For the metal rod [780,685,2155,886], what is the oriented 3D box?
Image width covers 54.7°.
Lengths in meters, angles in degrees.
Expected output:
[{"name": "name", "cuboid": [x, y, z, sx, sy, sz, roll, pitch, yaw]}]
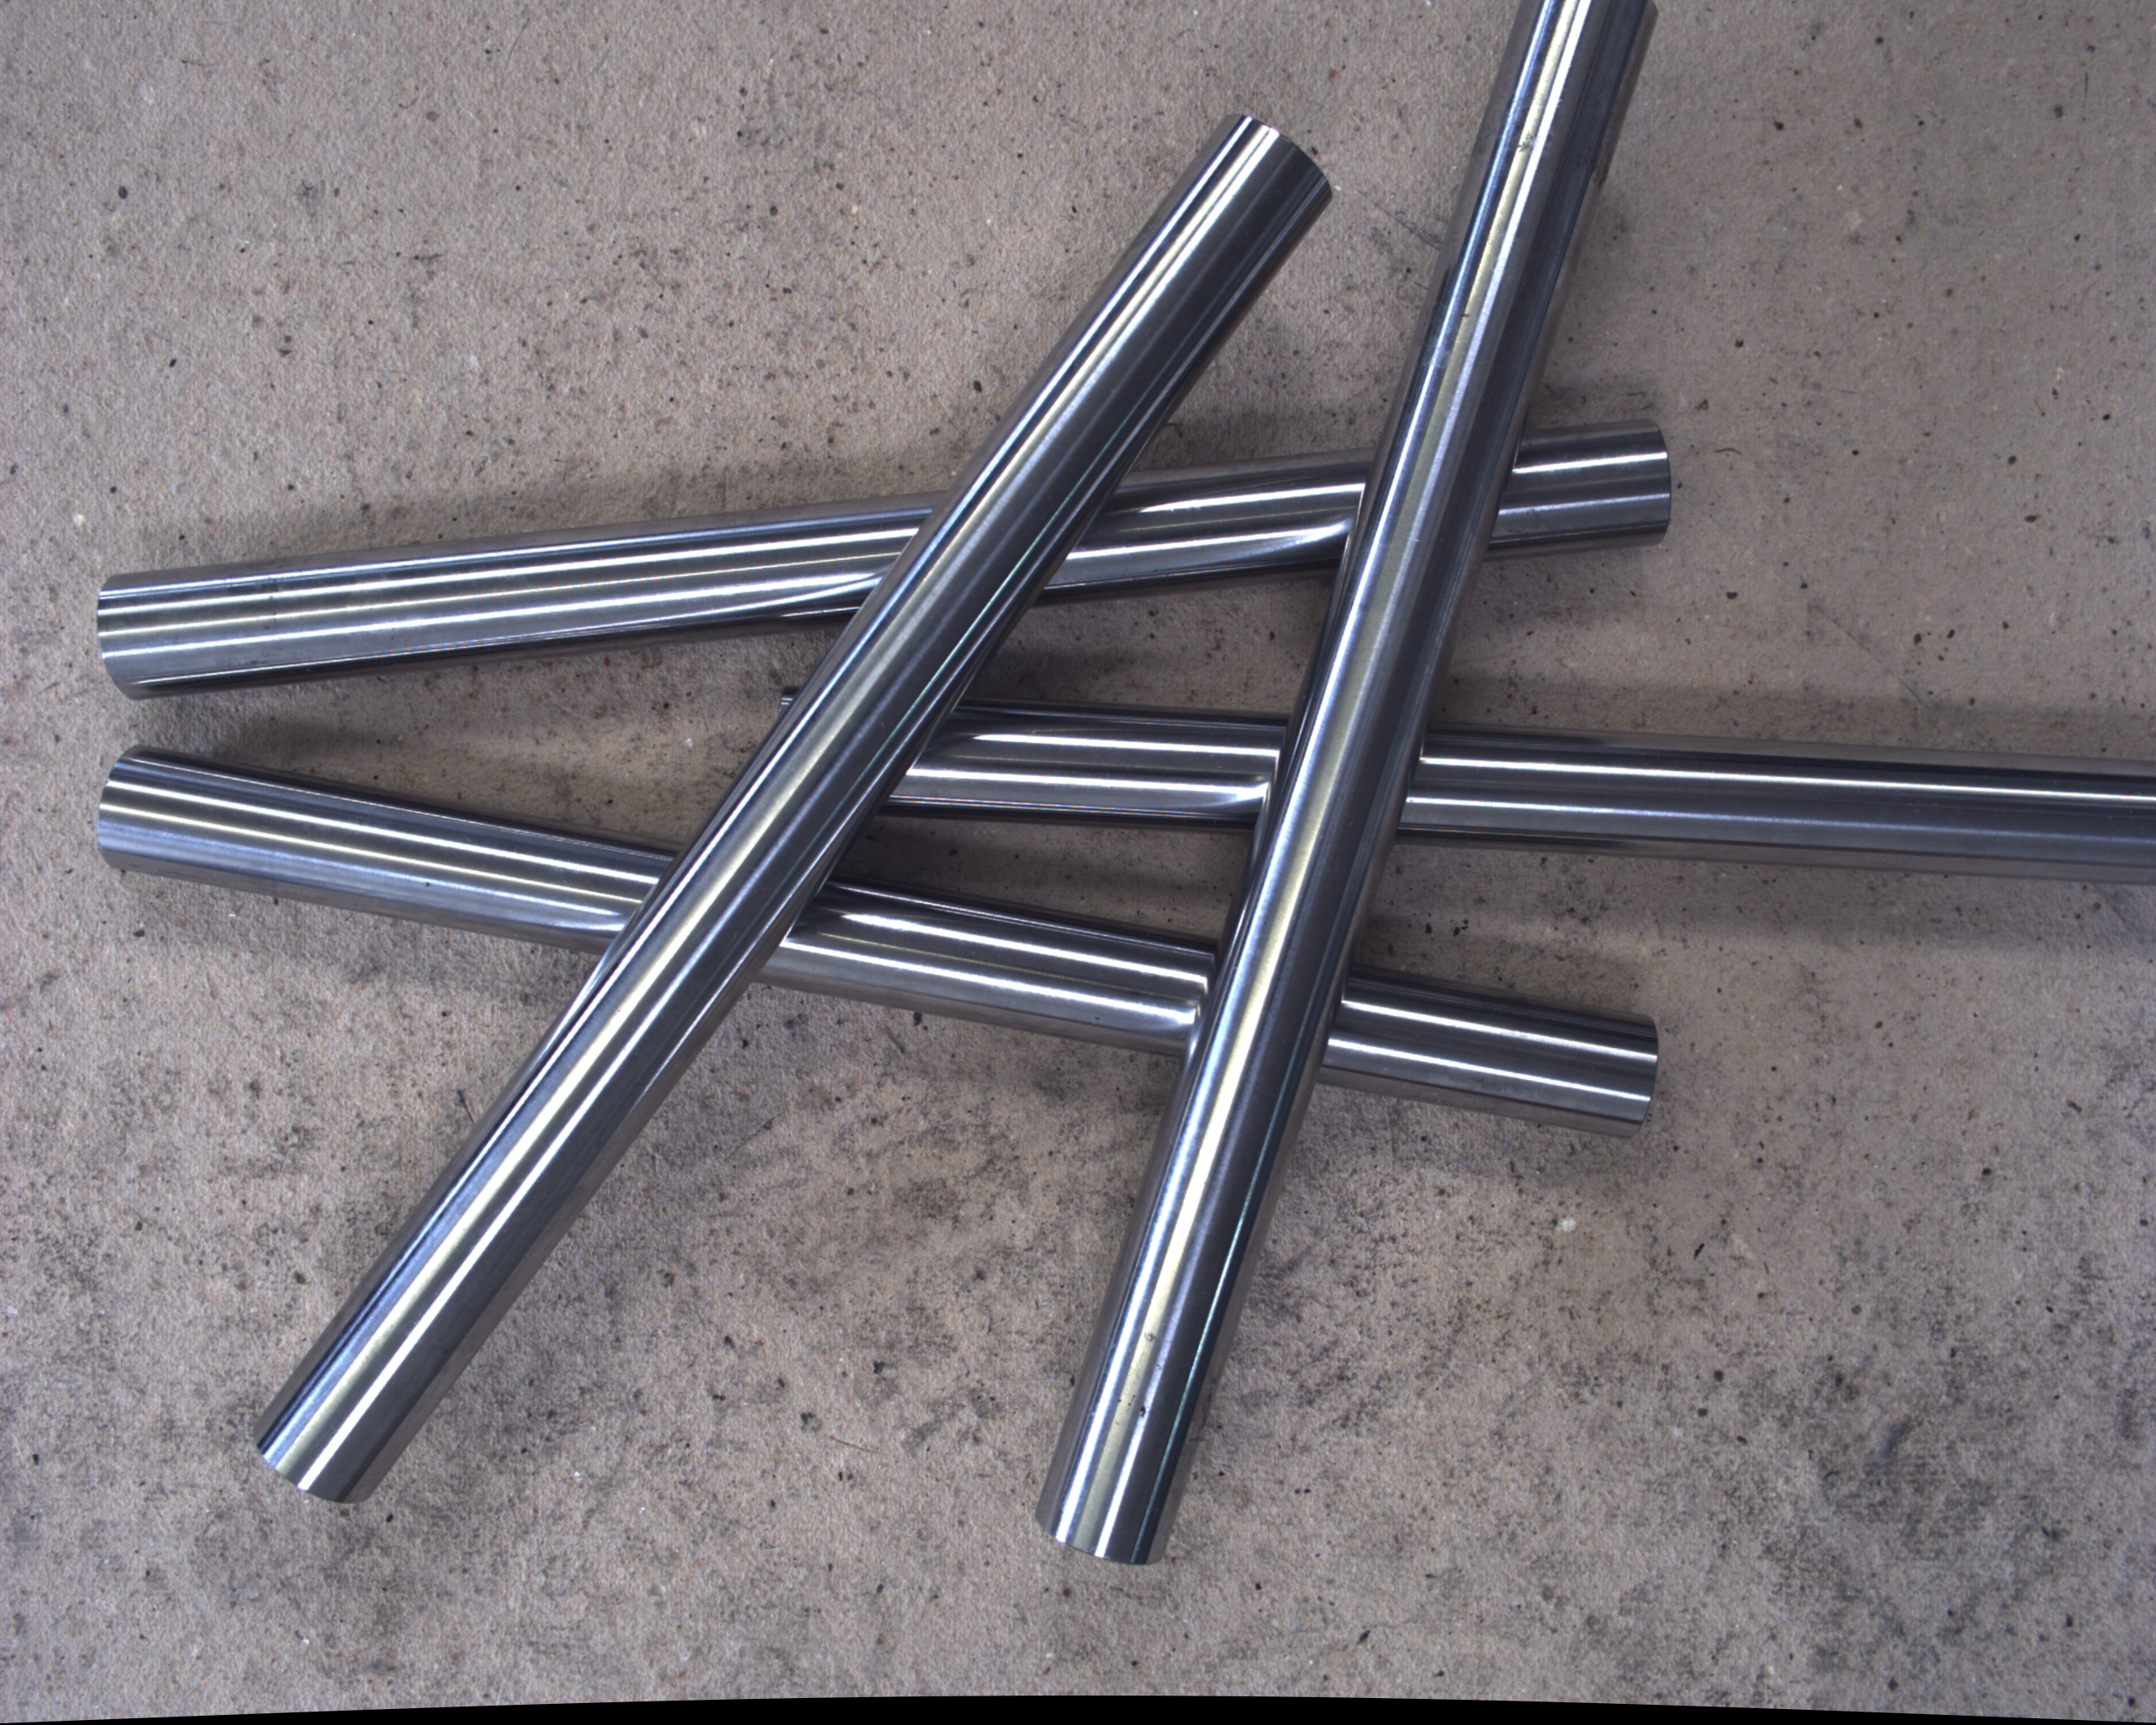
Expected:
[{"name": "metal rod", "cuboid": [0.093, -0.014, 0.412, 0.302, 0.025, 0.025, 3, 90, 0]}]

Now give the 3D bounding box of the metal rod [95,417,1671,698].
[{"name": "metal rod", "cuboid": [-0.037, -0.060, 0.411, 0.302, 0.025, 0.025, -6, 90, 0]}]

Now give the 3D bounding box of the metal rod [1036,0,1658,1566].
[{"name": "metal rod", "cuboid": [0.050, -0.017, 0.386, 0.025, 0.025, 0.298, 18, 90, 0]}]

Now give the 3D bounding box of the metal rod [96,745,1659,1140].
[{"name": "metal rod", "cuboid": [-0.038, 0.016, 0.411, 0.302, 0.025, 0.025, 10, 90, 0]}]

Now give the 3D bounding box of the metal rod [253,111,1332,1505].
[{"name": "metal rod", "cuboid": [-0.052, -0.010, 0.386, 0.025, 0.025, 0.299, 36, 90, 0]}]
